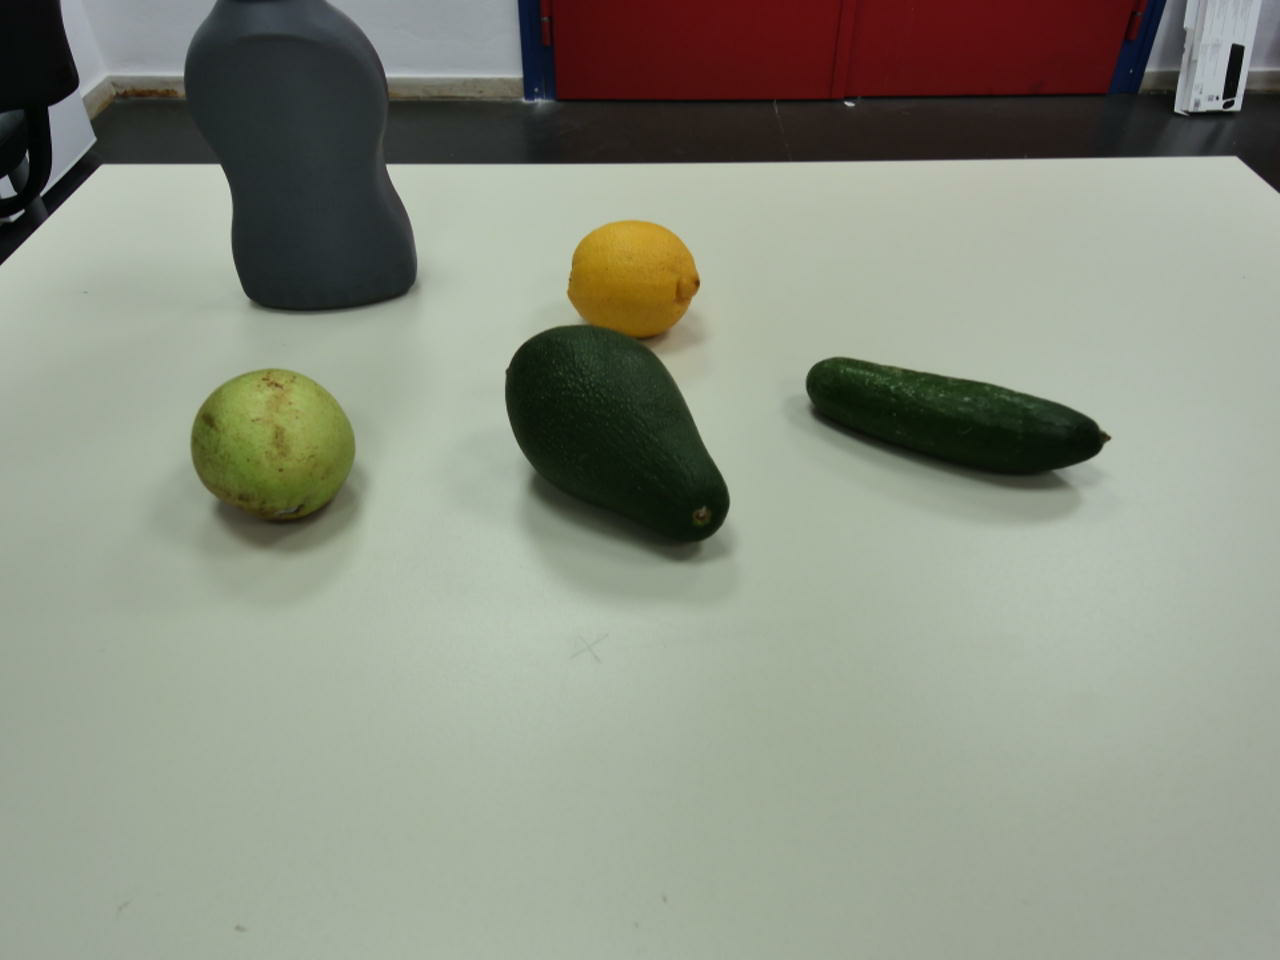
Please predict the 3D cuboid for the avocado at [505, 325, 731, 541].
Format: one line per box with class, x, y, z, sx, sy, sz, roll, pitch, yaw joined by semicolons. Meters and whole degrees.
avocado;-0.013;-0.021;0.417;0.072;0.071;0.109;-15;41;-18
